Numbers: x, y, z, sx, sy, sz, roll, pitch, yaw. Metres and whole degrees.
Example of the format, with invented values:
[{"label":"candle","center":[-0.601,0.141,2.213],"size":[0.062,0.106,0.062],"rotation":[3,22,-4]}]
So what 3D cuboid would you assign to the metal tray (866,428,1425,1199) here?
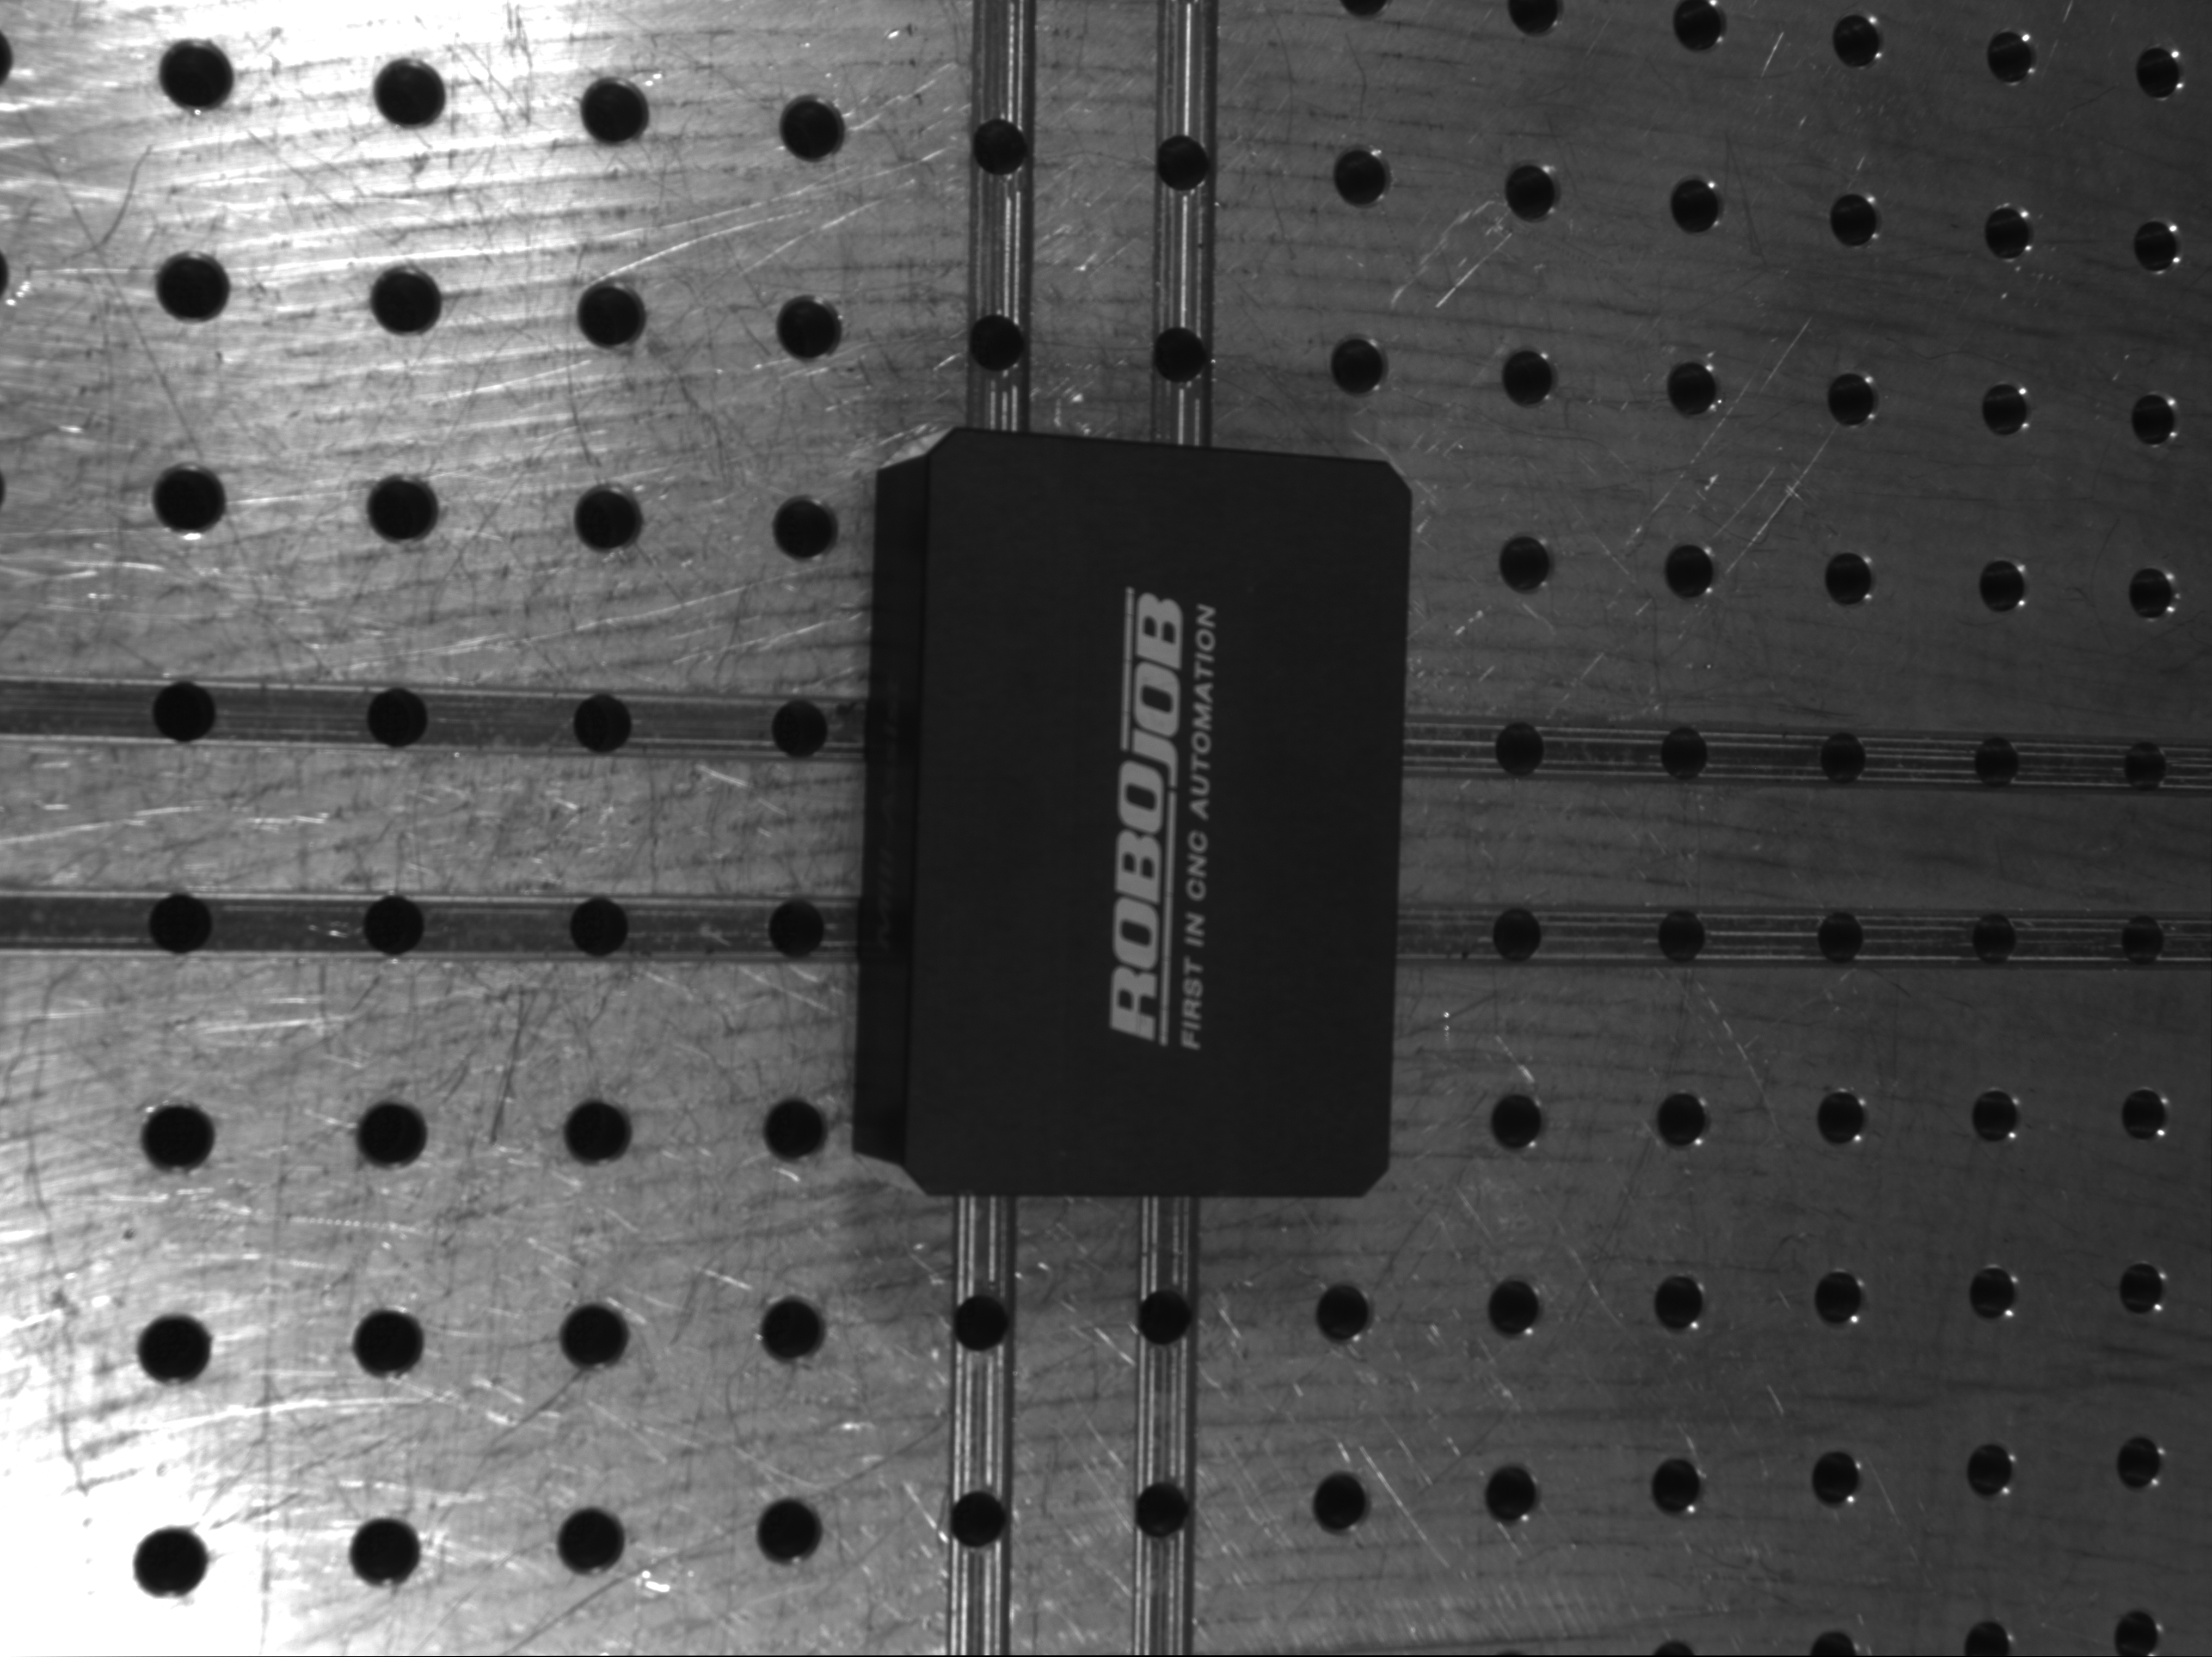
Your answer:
[{"label":"metal tray","center":[0.007,-0.001,0.645],"size":[0.090,0.030,0.130],"rotation":[2,89,-20]}]
